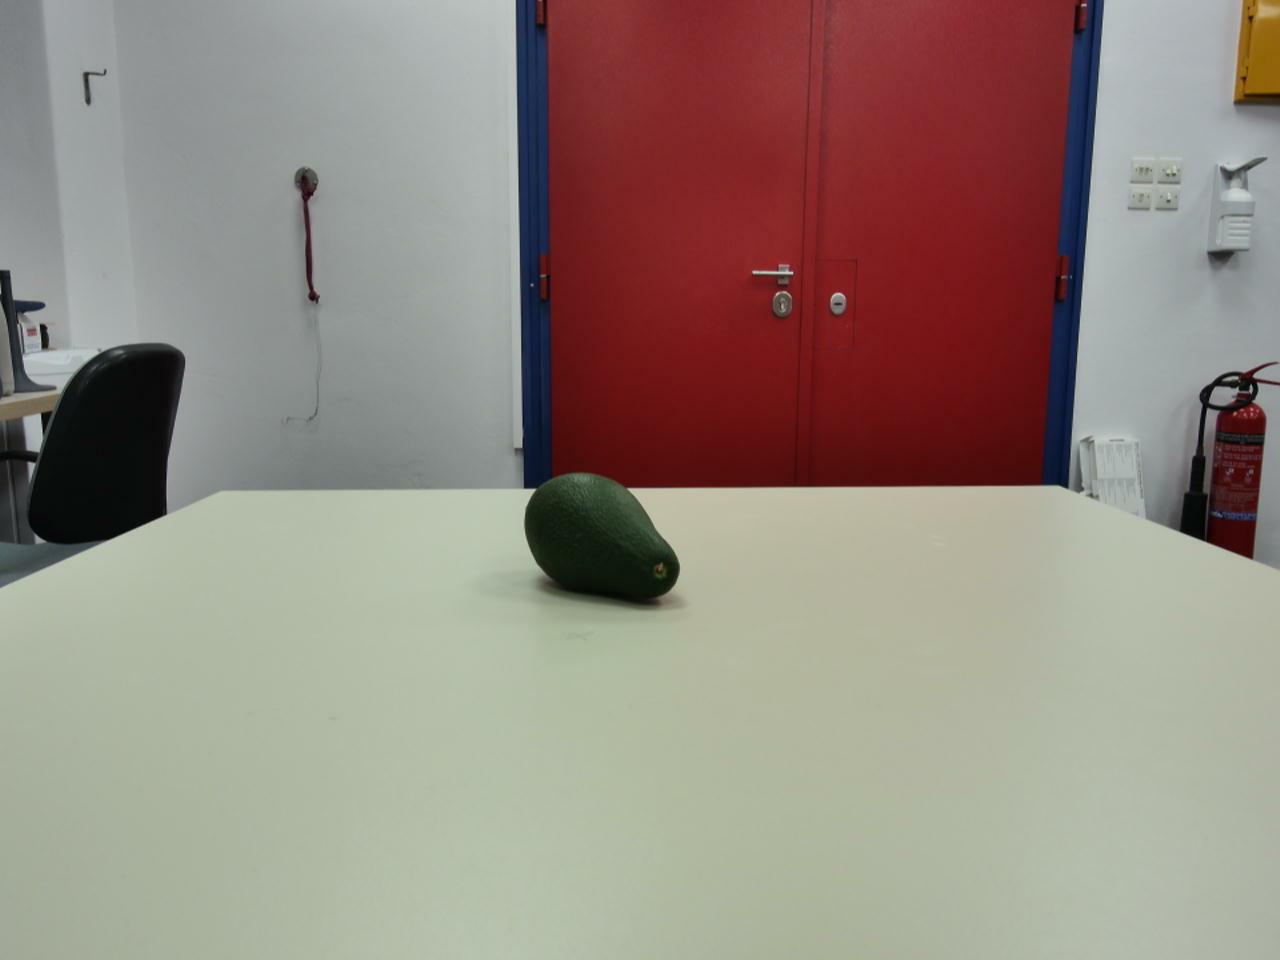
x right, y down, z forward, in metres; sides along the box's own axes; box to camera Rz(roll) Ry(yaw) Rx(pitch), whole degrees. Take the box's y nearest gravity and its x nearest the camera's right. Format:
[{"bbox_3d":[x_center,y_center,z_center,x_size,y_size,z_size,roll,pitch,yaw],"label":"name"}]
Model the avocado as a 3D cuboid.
[{"bbox_3d":[-0.027,0.032,0.597,0.072,0.071,0.110,-3,8,-23],"label":"avocado"}]
